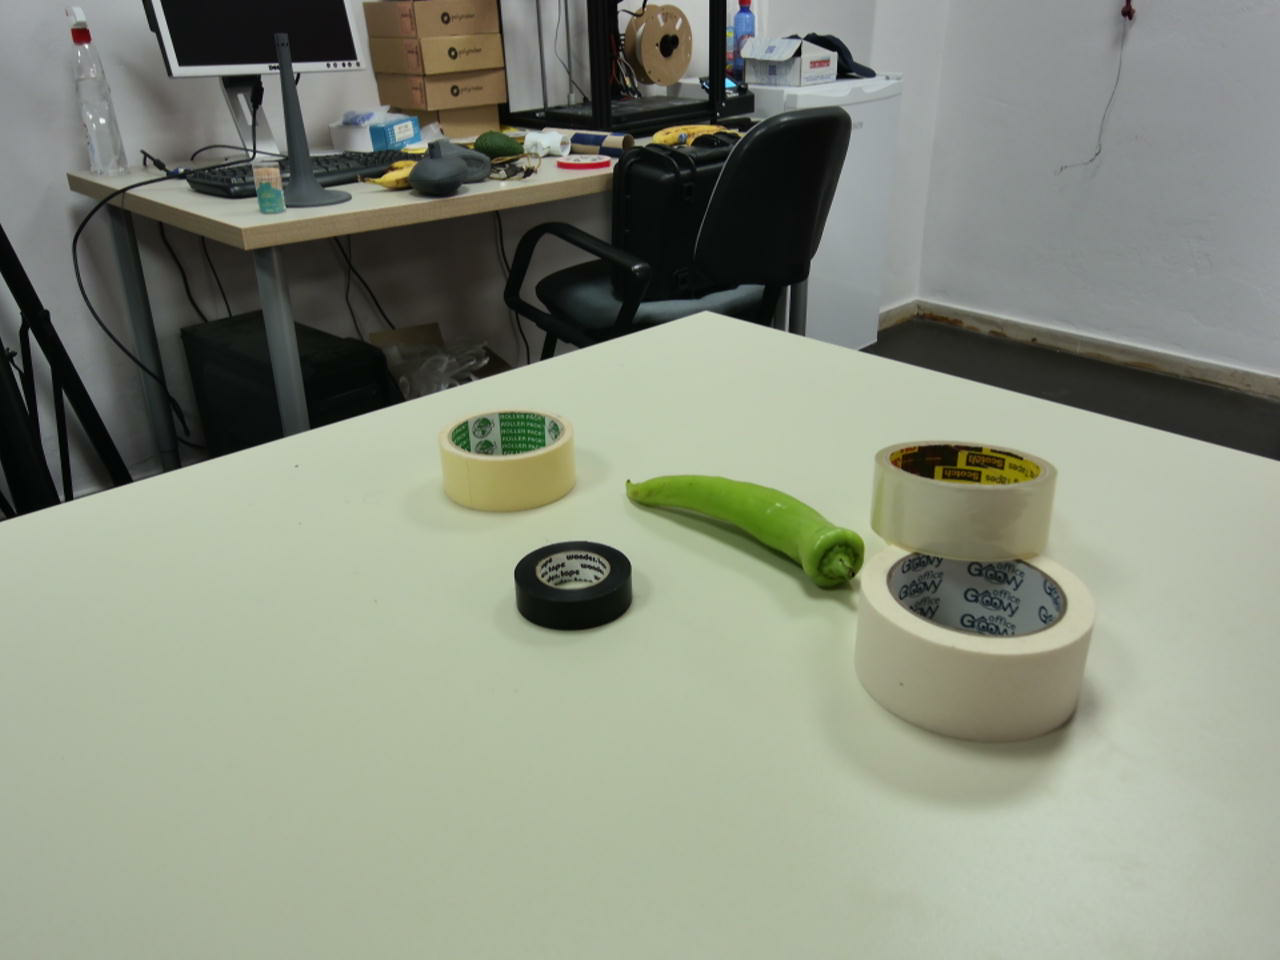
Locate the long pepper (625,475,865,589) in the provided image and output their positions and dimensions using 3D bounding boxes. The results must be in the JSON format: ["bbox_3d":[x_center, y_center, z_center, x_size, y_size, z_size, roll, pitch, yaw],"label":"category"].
[{"bbox_3d":[0.063,0.020,0.617,0.046,0.038,0.197,-19,30,-36],"label":"long pepper"}]
